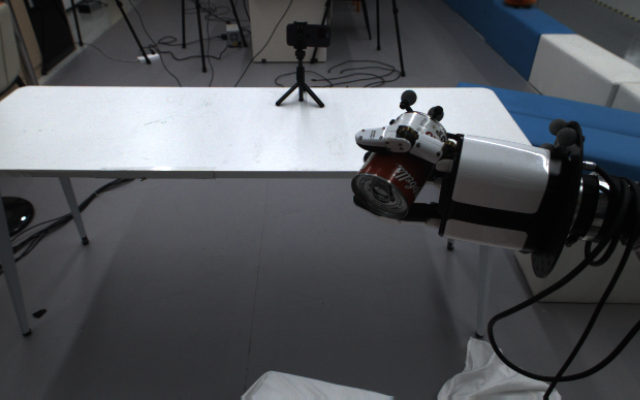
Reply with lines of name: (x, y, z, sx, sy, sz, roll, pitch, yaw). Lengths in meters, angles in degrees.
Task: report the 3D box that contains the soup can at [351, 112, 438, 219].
soup can: (0.091, -0.039, 0.523, 0.067, 0.067, 0.101, 22, 60, 26)
